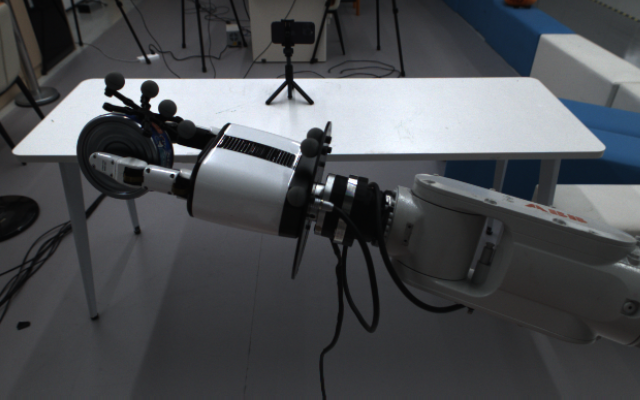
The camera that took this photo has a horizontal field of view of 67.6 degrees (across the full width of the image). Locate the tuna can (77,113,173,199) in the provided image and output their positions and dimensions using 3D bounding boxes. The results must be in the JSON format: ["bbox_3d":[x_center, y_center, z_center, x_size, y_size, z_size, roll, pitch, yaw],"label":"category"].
[{"bbox_3d":[-0.188,-0.039,0.475,0.085,0.085,0.034,6,19,6],"label":"tuna can"}]
